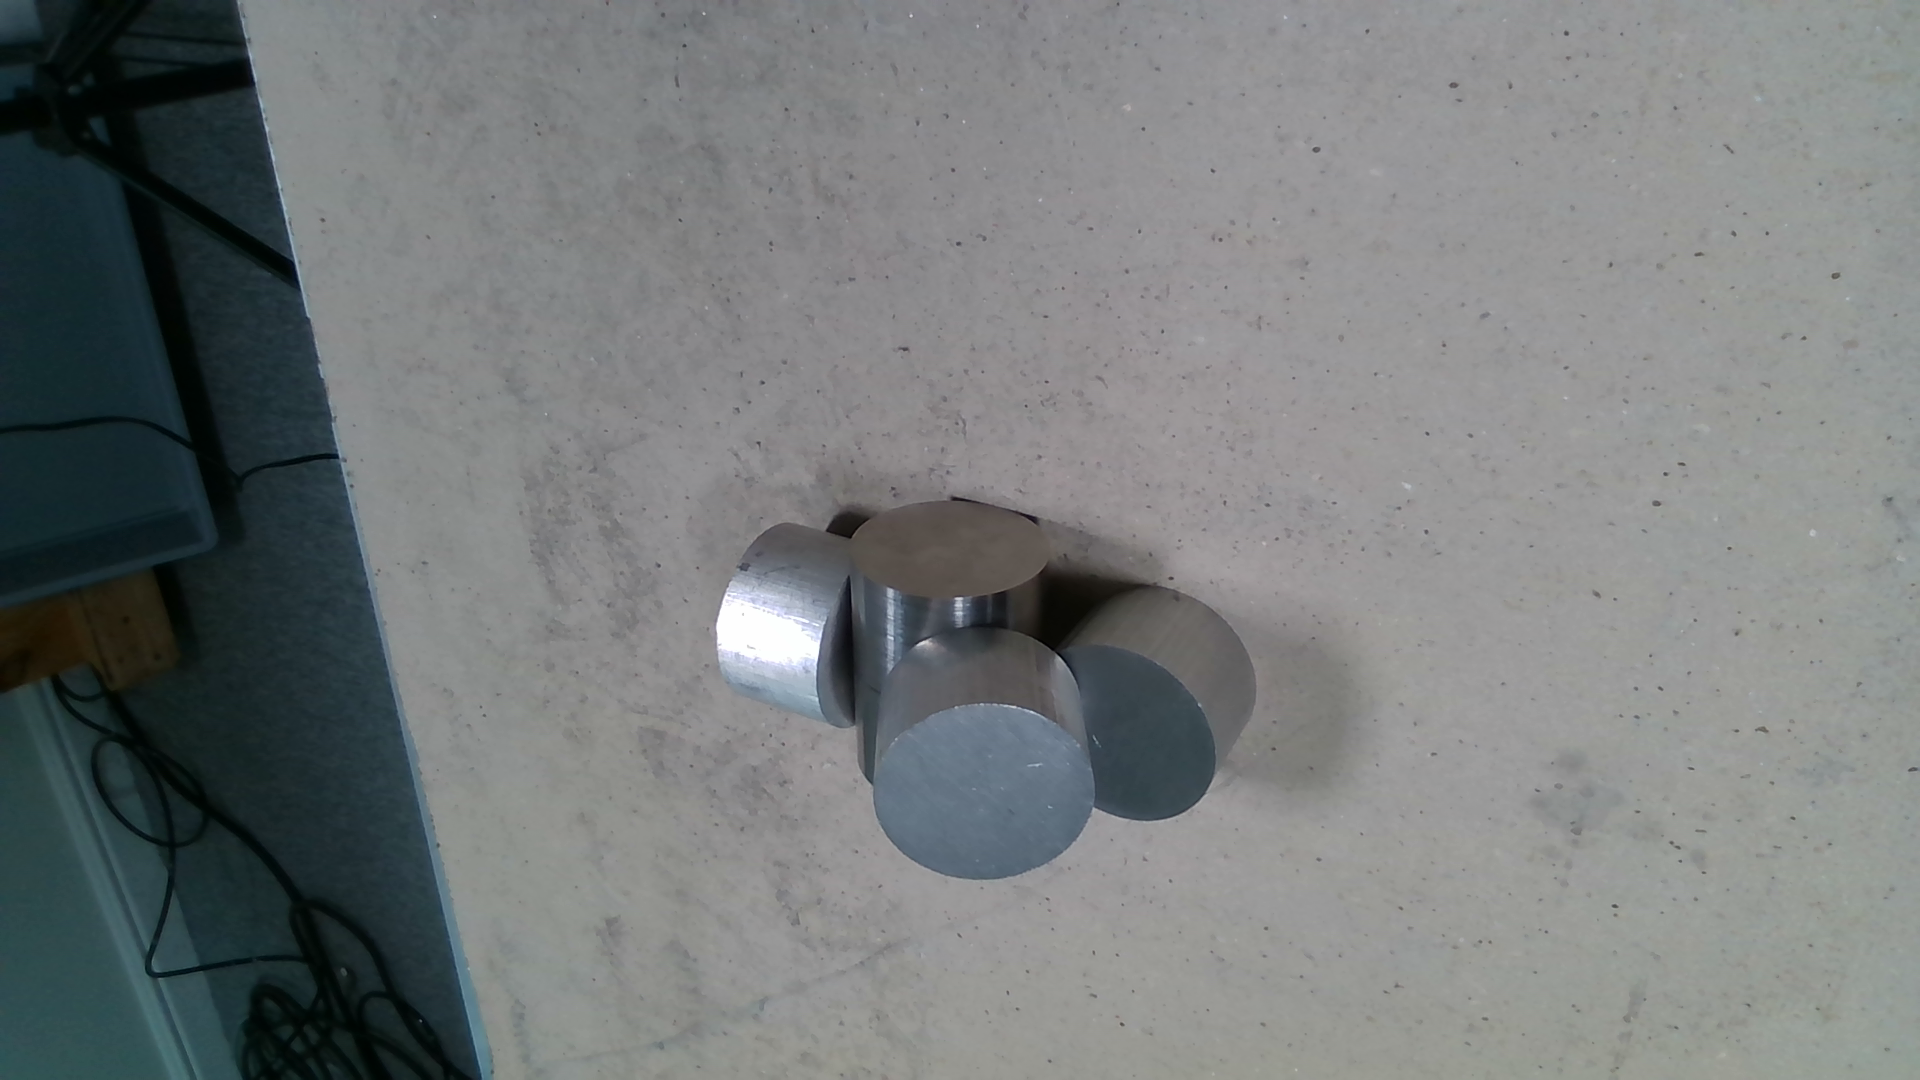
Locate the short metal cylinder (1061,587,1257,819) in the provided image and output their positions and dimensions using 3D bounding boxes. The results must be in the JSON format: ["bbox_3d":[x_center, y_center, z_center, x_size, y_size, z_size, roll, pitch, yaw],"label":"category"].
[{"bbox_3d":[0.073,0.065,0.556,0.080,0.050,0.080,14,122,25],"label":"short metal cylinder"}]

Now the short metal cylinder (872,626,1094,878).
[{"bbox_3d":[0.008,0.079,0.517,0.080,0.050,0.080,0,119,0],"label":"short metal cylinder"}]

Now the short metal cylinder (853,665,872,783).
[{"bbox_3d":[-0.005,0.069,0.585,0.080,0.080,0.050,14,121,25],"label":"short metal cylinder"}]

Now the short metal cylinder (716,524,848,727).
[{"bbox_3d":[-0.062,0.036,0.603,0.050,0.080,0.080,14,122,24],"label":"short metal cylinder"}]

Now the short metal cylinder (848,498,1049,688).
[{"bbox_3d":[-0.005,0.023,0.561,0.080,0.080,0.050,15,122,24],"label":"short metal cylinder"}]
